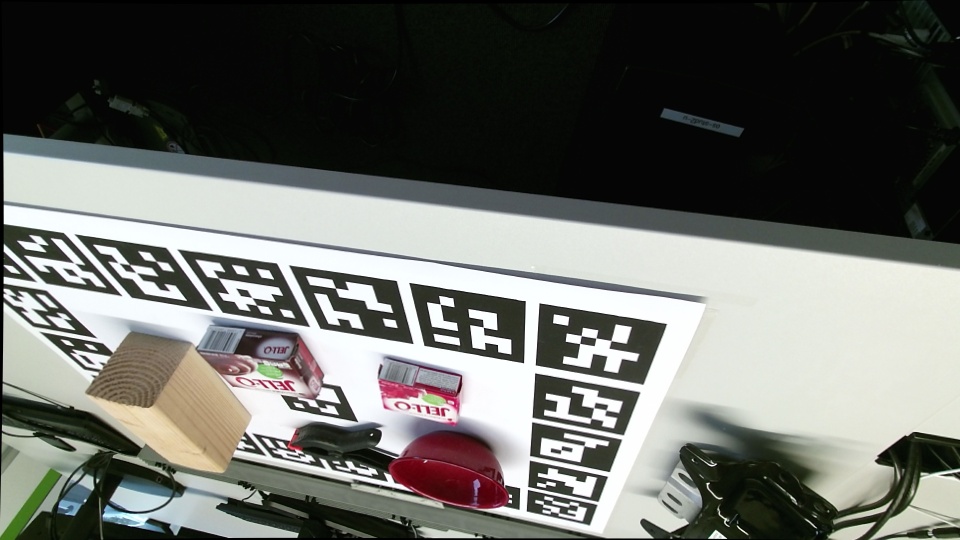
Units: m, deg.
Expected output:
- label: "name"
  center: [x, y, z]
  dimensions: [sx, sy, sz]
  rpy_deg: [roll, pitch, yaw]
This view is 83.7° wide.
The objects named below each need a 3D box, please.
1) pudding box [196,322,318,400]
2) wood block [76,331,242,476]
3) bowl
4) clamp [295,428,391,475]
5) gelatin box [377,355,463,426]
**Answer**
- label: "pudding box"
  center: [-0.250, 0.104, 0.607]
  dimensions: [0.114, 0.038, 0.090]
  rpy_deg: [5, 134, 9]
- label: "wood block"
  center: [-0.407, 0.182, 0.702]
  dimensions: [0.090, 0.090, 0.206]
  rpy_deg: [10, 138, 9]
- label: "bowl"
  center: [-0.037, 0.257, 0.704]
  dimensions: [0.162, 0.055, 0.162]
  rpy_deg: [9, 135, 9]
- label: "clamp"
  center: [-0.191, 0.258, 0.769]
  dimensions: [0.165, 0.036, 0.122]
  rpy_deg: [1, 137, 19]
- label: "gelatin box"
  center: [-0.067, 0.134, 0.586]
  dimensions: [0.089, 0.030, 0.073]
  rpy_deg: [13, 137, 4]
